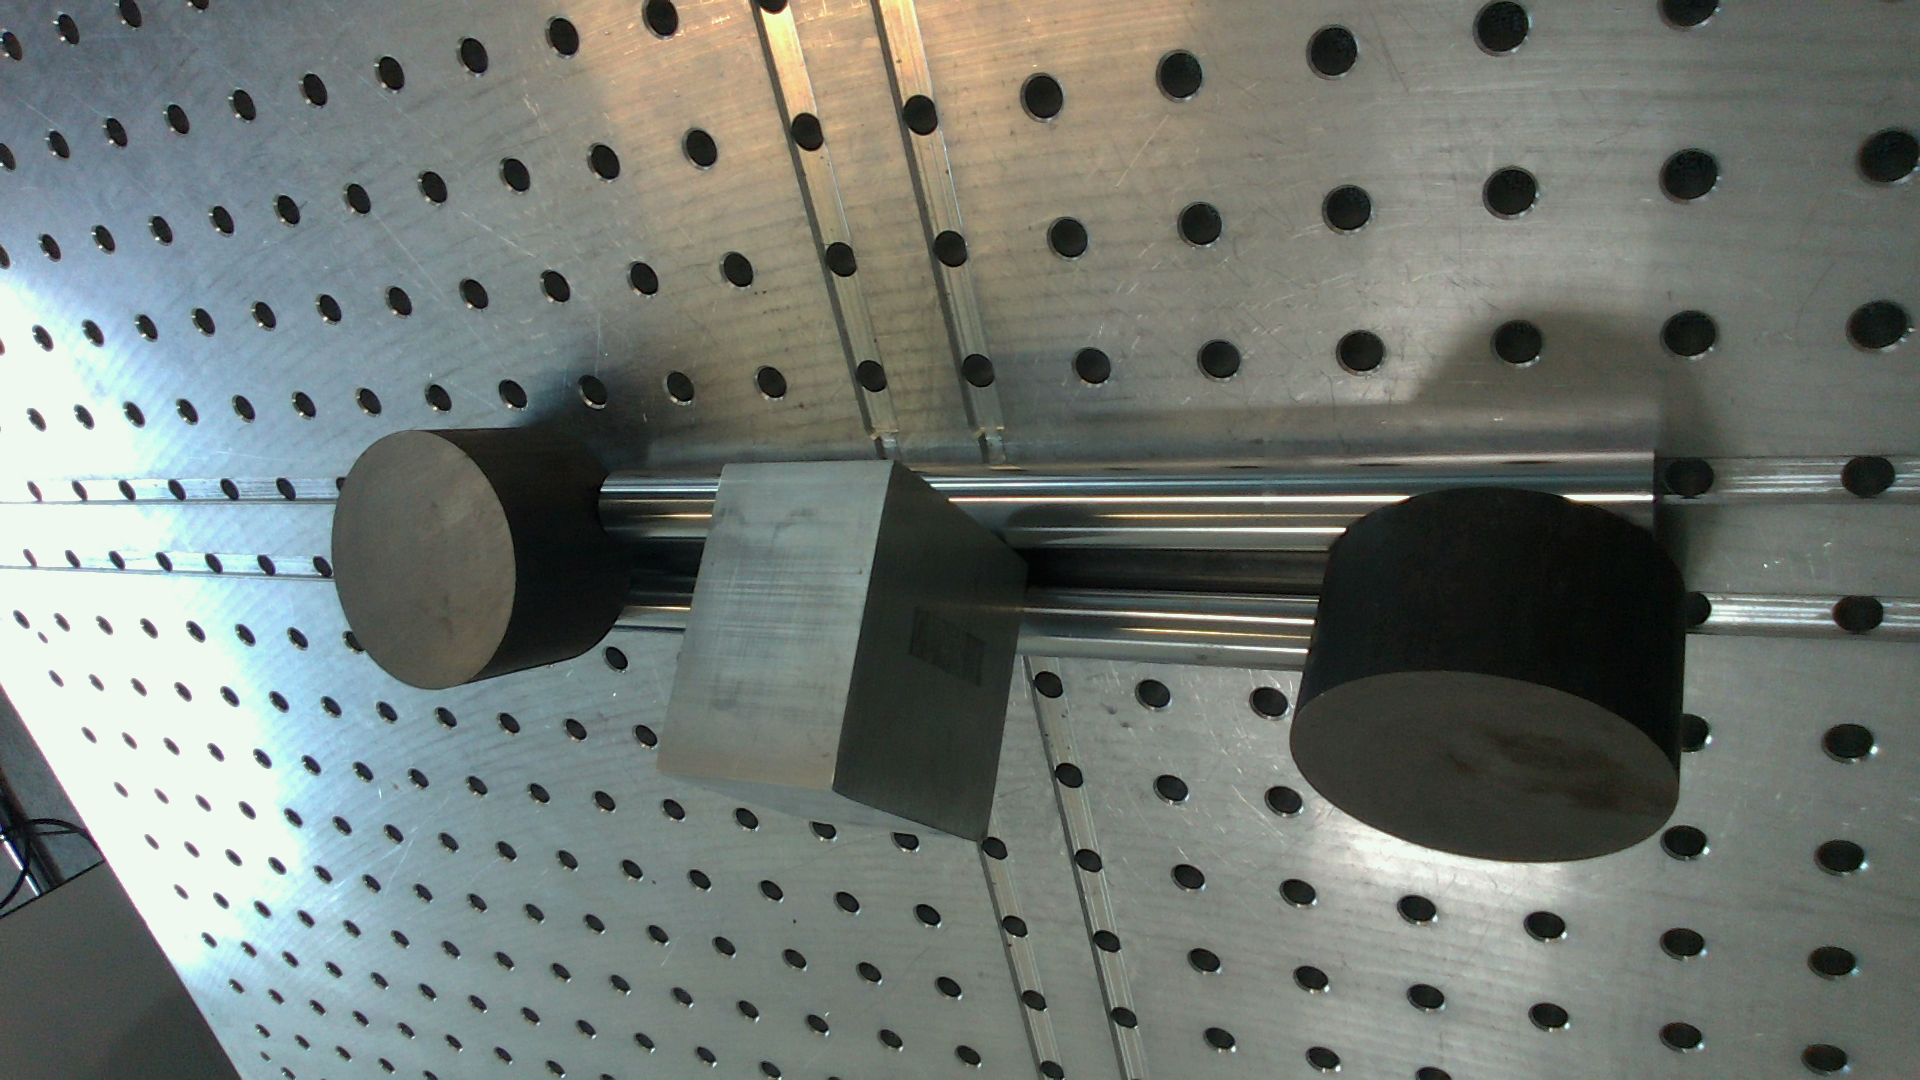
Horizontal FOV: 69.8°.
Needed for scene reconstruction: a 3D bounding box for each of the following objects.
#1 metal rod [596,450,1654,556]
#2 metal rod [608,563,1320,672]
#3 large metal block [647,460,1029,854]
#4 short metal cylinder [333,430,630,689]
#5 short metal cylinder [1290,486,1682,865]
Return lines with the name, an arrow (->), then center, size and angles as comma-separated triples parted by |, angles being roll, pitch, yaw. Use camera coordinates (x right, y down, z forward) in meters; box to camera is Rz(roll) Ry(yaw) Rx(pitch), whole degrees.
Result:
metal rod -> 0.023, -0.009, 0.377 | 0.299, 0.025, 0.025 | 1, 119, 28
metal rod -> -0.035, 0.021, 0.426 | 0.299, 0.025, 0.025 | 1, 119, 28
large metal block -> -0.027, 0.032, 0.356 | 0.050, 0.080, 0.080 | 1, 161, 28
short metal cylinder -> -0.155, 0.004, 0.447 | 0.080, 0.050, 0.080 | 3, 97, 28
short metal cylinder -> 0.121, 0.033, 0.318 | 0.080, 0.050, 0.080 | 15, 146, 11
